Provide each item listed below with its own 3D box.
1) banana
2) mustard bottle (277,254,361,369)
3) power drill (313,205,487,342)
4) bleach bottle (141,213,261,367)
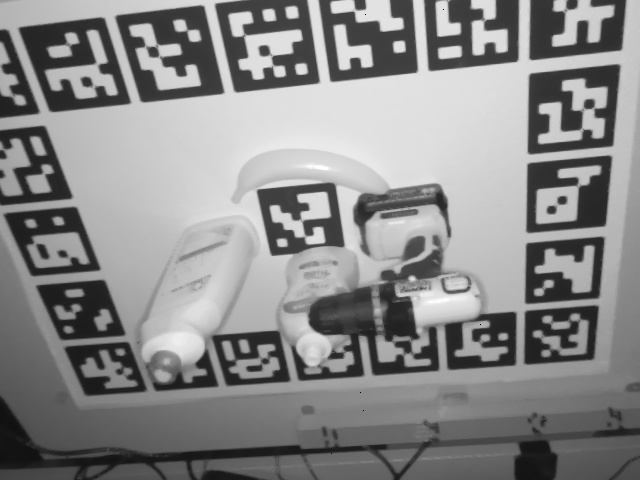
[{"bbox_3d":[-0.018,-0.072,0.841,0.197,0.039,0.074,-2,115,3],"label":"banana"},{"bbox_3d":[-0.002,0.088,0.843,0.096,0.193,0.058,-3,119,8],"label":"mustard bottle"},{"bbox_3d":[0.090,0.038,0.788,0.184,0.189,0.057,-5,125,10],"label":"power drill"},{"bbox_3d":[-0.140,0.057,0.810,0.102,0.253,0.067,-11,116,11],"label":"bleach bottle"}]
